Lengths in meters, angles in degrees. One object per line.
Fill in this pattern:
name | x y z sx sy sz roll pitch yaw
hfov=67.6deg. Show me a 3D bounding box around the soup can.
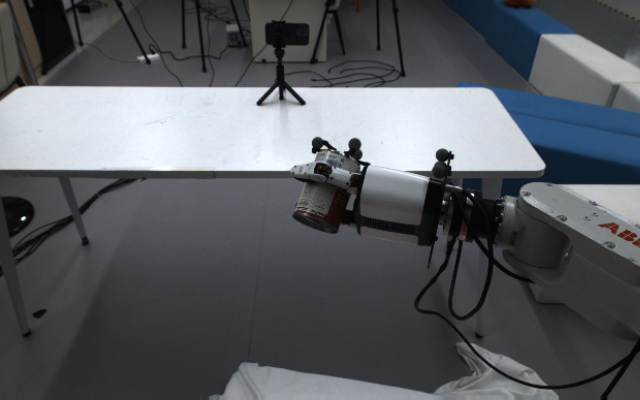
soup can | 0.011 -0.012 0.681 0.067 0.067 0.101 16 75 19
